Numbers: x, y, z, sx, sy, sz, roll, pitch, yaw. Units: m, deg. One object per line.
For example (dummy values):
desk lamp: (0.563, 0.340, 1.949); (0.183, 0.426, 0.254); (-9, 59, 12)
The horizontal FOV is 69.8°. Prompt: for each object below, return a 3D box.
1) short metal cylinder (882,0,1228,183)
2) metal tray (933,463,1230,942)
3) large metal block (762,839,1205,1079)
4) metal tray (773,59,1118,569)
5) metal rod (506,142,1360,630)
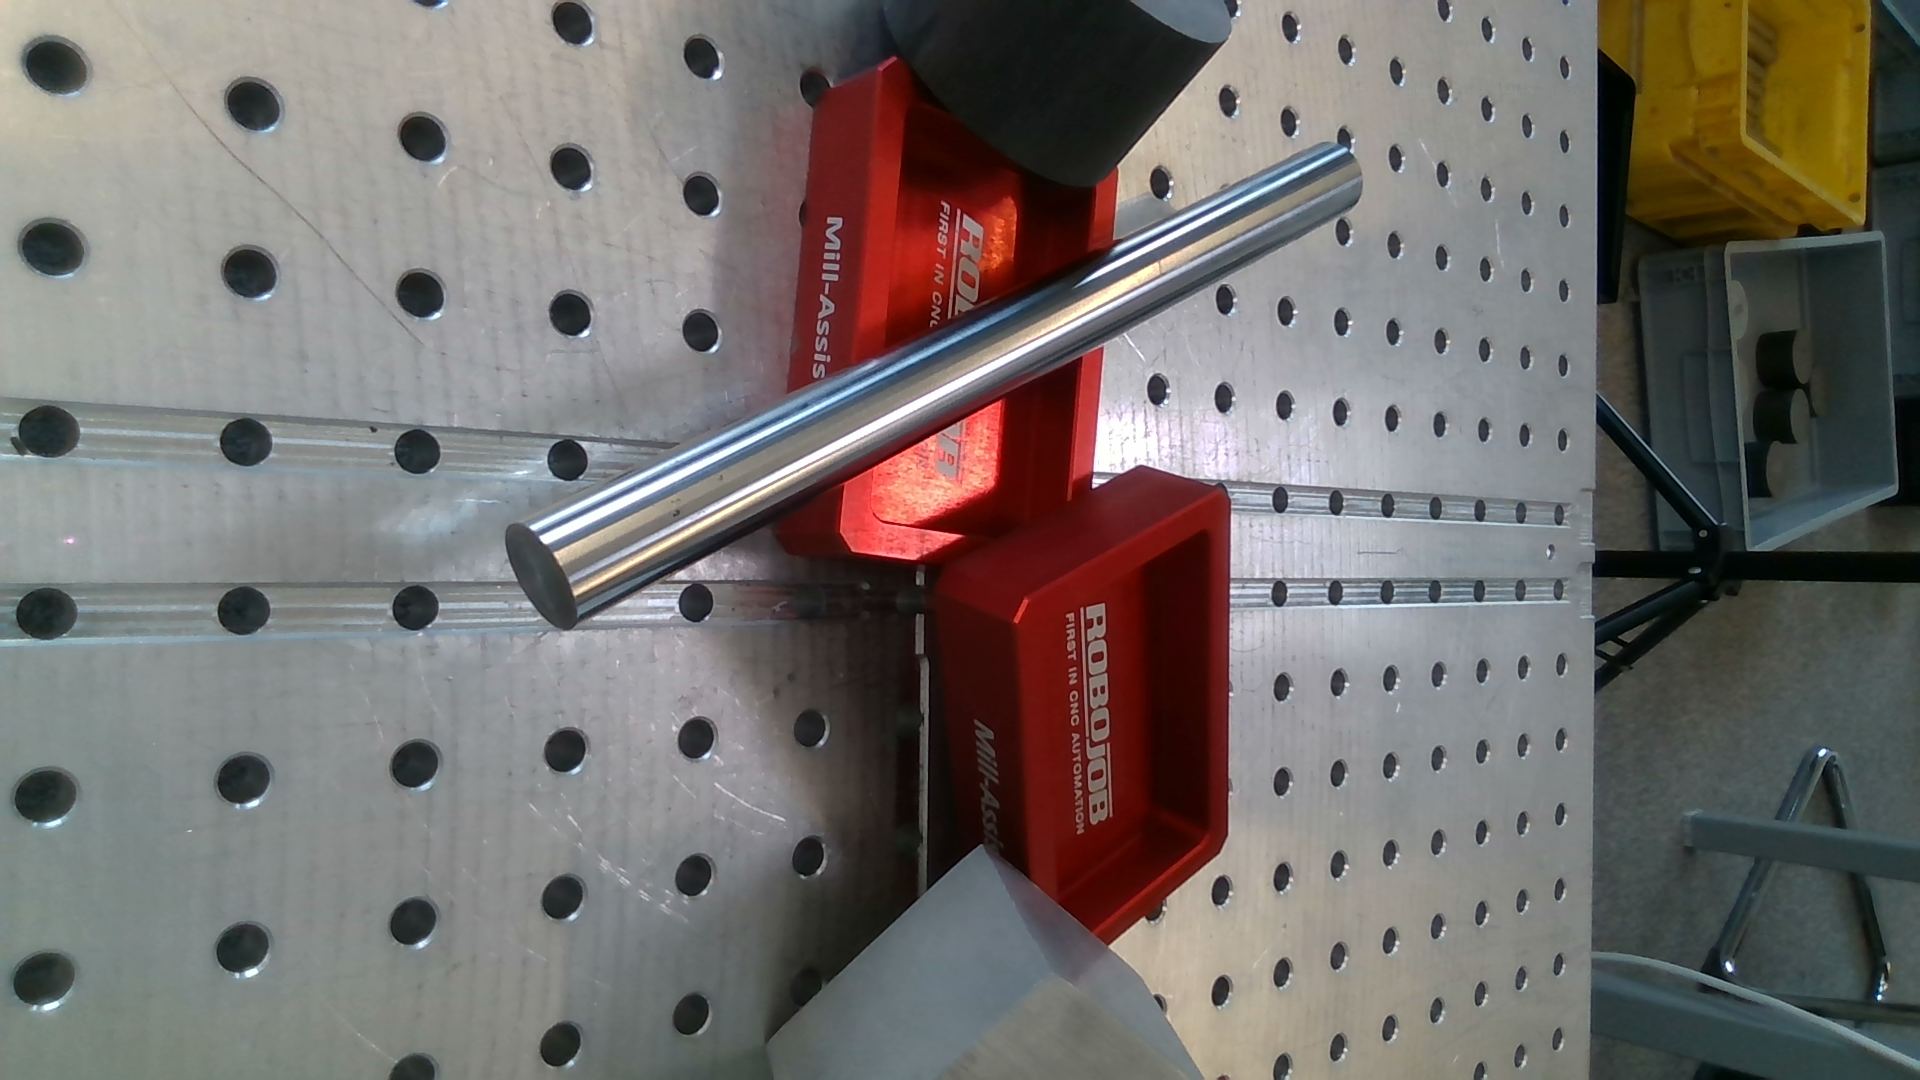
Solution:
short metal cylinder: (0.026, -0.145, 0.376); (0.080, 0.050, 0.080); (26, 40, -24)
metal tray: (0.040, 0.054, 0.400); (0.090, 0.030, 0.130); (-27, 124, -37)
large metal block: (0.009, 0.140, 0.363); (0.080, 0.050, 0.080); (-43, 120, 3)
metal tray: (-0.001, -0.056, 0.389); (0.090, 0.030, 0.130); (9, 85, -40)
metal rod: (0.018, -0.056, 0.370); (0.300, 0.025, 0.025); (-31, 110, -36)
